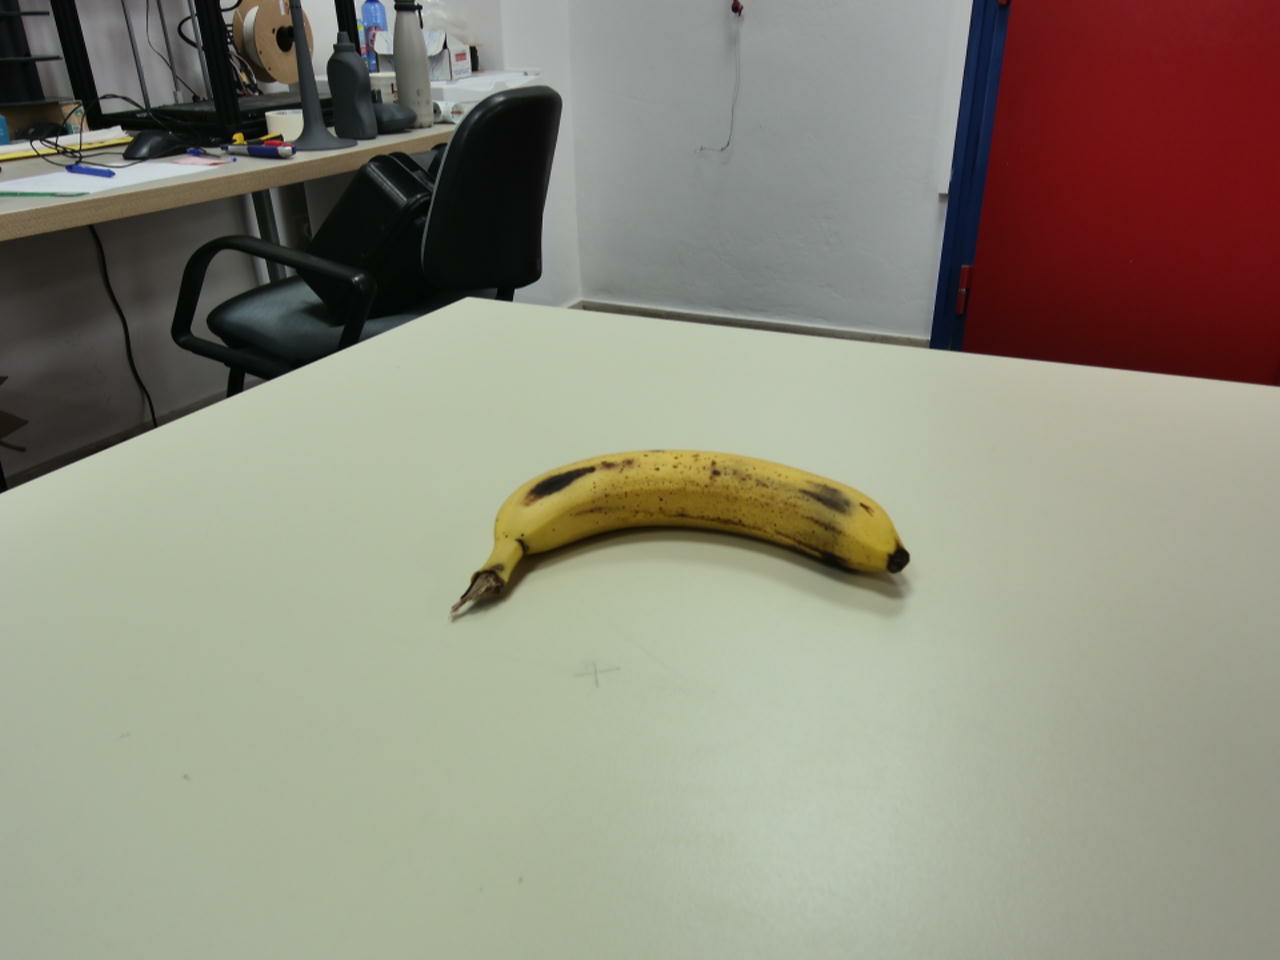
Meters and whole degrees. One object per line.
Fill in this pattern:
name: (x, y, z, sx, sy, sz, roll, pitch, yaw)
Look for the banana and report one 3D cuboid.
banana: (0.018, 0.017, 0.451, 0.186, 0.038, 0.097, -1, 23, -1)
